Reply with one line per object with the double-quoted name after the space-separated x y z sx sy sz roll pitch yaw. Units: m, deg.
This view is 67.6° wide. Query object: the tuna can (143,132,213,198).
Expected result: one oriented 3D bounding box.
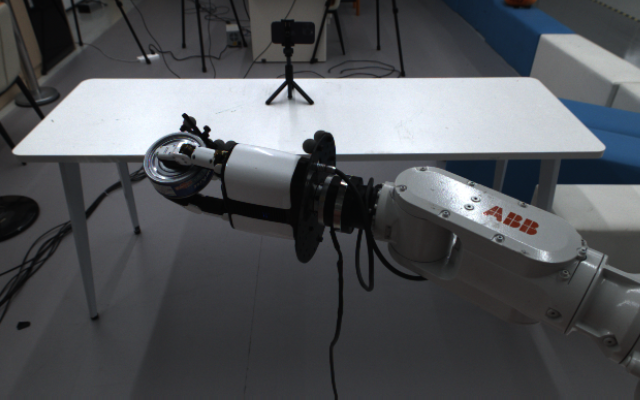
-0.182 -0.046 0.628 0.085 0.034 0.085 -4 58 6 "tuna can"
